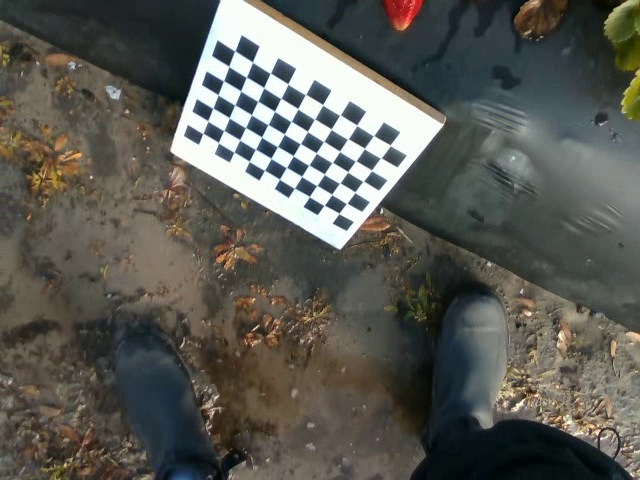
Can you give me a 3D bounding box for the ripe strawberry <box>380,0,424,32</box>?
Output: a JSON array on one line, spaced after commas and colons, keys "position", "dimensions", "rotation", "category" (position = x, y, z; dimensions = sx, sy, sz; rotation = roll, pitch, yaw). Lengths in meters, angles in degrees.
[{"position": [0.088, -0.254, 0.679], "dimensions": [0.050, 0.065, 0.049], "rotation": [3, -12, 24], "category": "ripe strawberry"}]
